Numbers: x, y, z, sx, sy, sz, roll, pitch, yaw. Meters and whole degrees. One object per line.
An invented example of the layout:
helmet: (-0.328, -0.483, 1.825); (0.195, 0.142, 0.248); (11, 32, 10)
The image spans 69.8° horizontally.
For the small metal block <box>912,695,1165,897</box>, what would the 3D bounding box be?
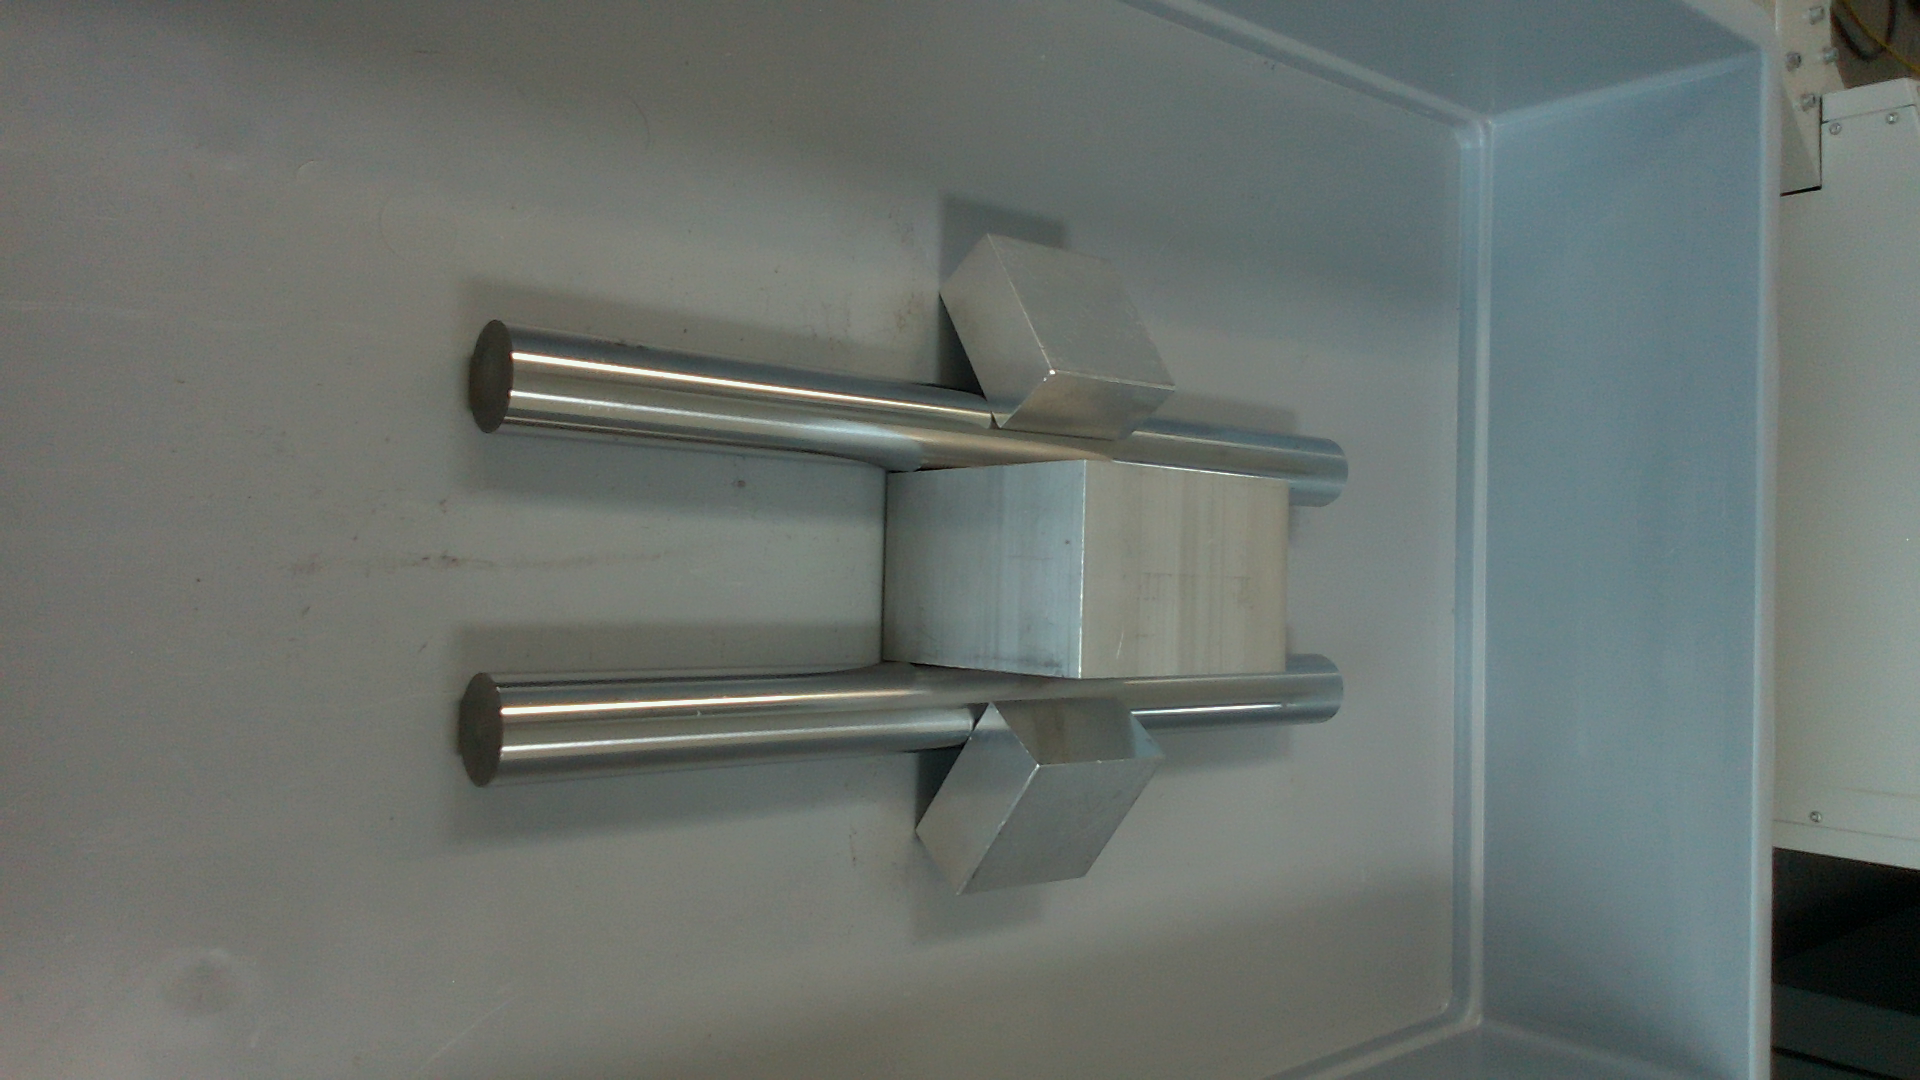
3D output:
small metal block: (0.022, 0.072, 0.390); (0.050, 0.025, 0.050); (4, 125, -40)

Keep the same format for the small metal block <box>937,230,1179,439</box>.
small metal block: (0.028, -0.058, 0.396); (0.050, 0.025, 0.050); (1, 55, -40)

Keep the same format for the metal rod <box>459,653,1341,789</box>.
metal rod: (0.011, 0.047, 0.397); (0.301, 0.025, 0.025); (3, 88, -40)

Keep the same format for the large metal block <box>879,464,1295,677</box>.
large metal block: (0.034, 0.008, 0.379); (0.080, 0.080, 0.050); (2, 89, -40)

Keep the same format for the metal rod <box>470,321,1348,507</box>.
metal rod: (0.013, -0.030, 0.397); (0.301, 0.025, 0.025); (3, 88, -40)
